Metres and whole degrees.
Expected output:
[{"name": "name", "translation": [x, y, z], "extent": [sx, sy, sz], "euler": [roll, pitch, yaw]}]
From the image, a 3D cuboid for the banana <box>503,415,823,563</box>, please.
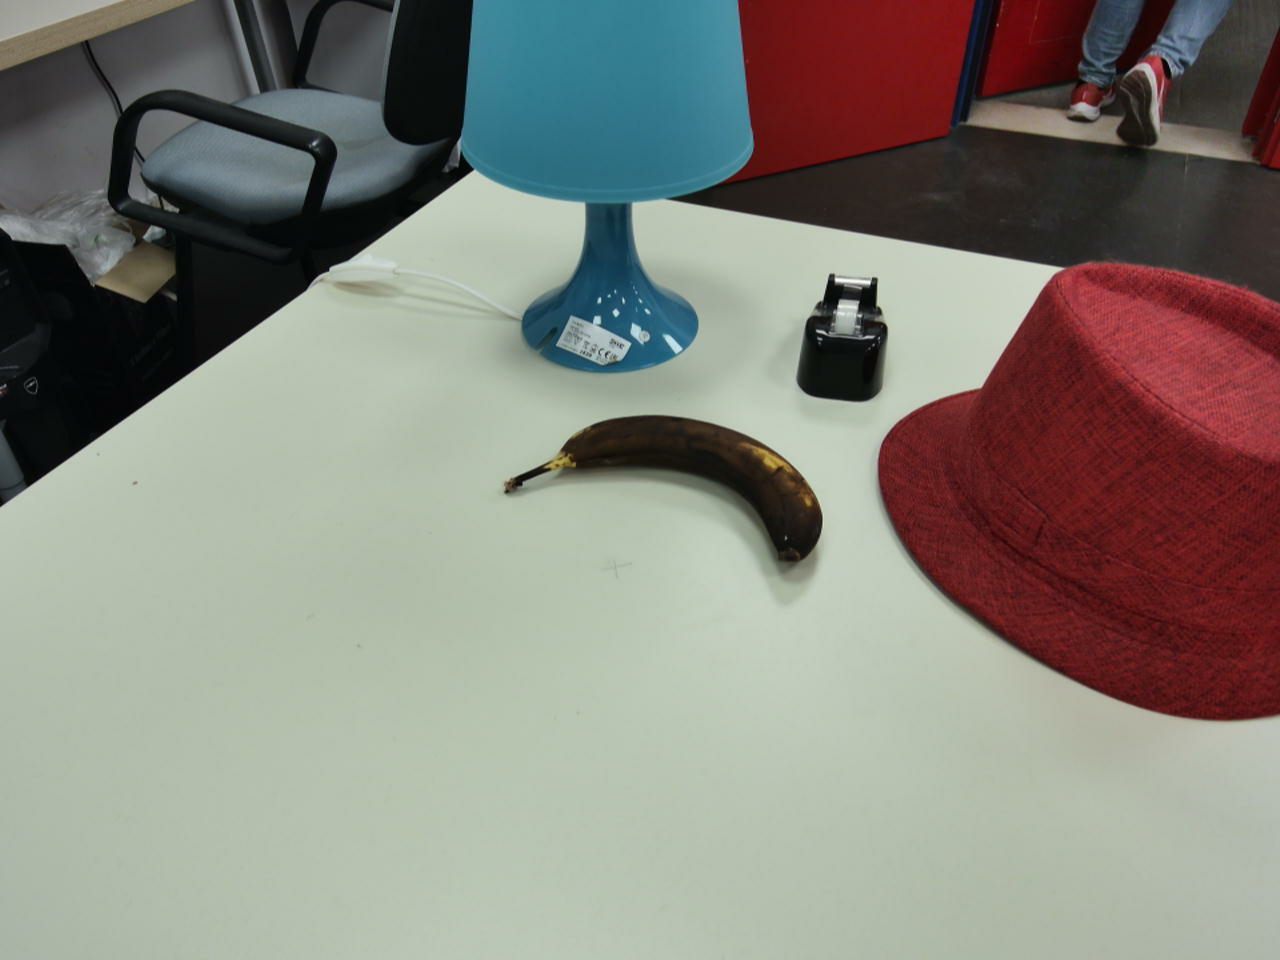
[{"name": "banana", "translation": [0.020, -0.006, 0.585], "extent": [0.188, 0.034, 0.091], "euler": [16, 42, 20]}]
